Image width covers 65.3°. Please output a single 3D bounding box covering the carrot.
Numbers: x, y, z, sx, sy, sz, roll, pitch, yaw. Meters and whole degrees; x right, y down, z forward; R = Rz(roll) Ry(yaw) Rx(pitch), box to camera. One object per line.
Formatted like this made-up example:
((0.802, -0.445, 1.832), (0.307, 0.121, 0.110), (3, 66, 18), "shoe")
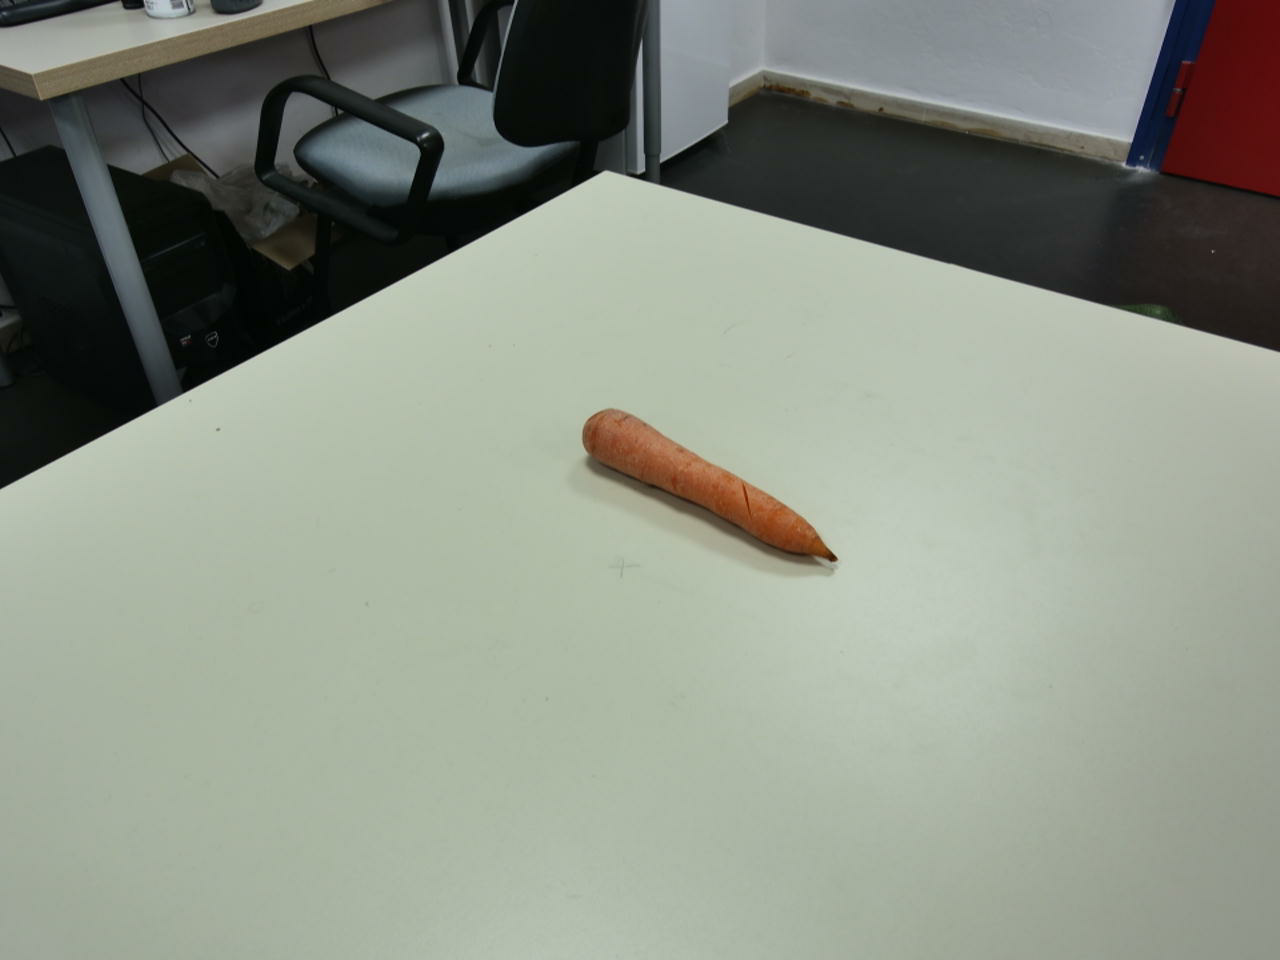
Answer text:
((0.043, 0.000, 0.642), (0.196, 0.041, 0.039), (25, 44, 29), "carrot")
